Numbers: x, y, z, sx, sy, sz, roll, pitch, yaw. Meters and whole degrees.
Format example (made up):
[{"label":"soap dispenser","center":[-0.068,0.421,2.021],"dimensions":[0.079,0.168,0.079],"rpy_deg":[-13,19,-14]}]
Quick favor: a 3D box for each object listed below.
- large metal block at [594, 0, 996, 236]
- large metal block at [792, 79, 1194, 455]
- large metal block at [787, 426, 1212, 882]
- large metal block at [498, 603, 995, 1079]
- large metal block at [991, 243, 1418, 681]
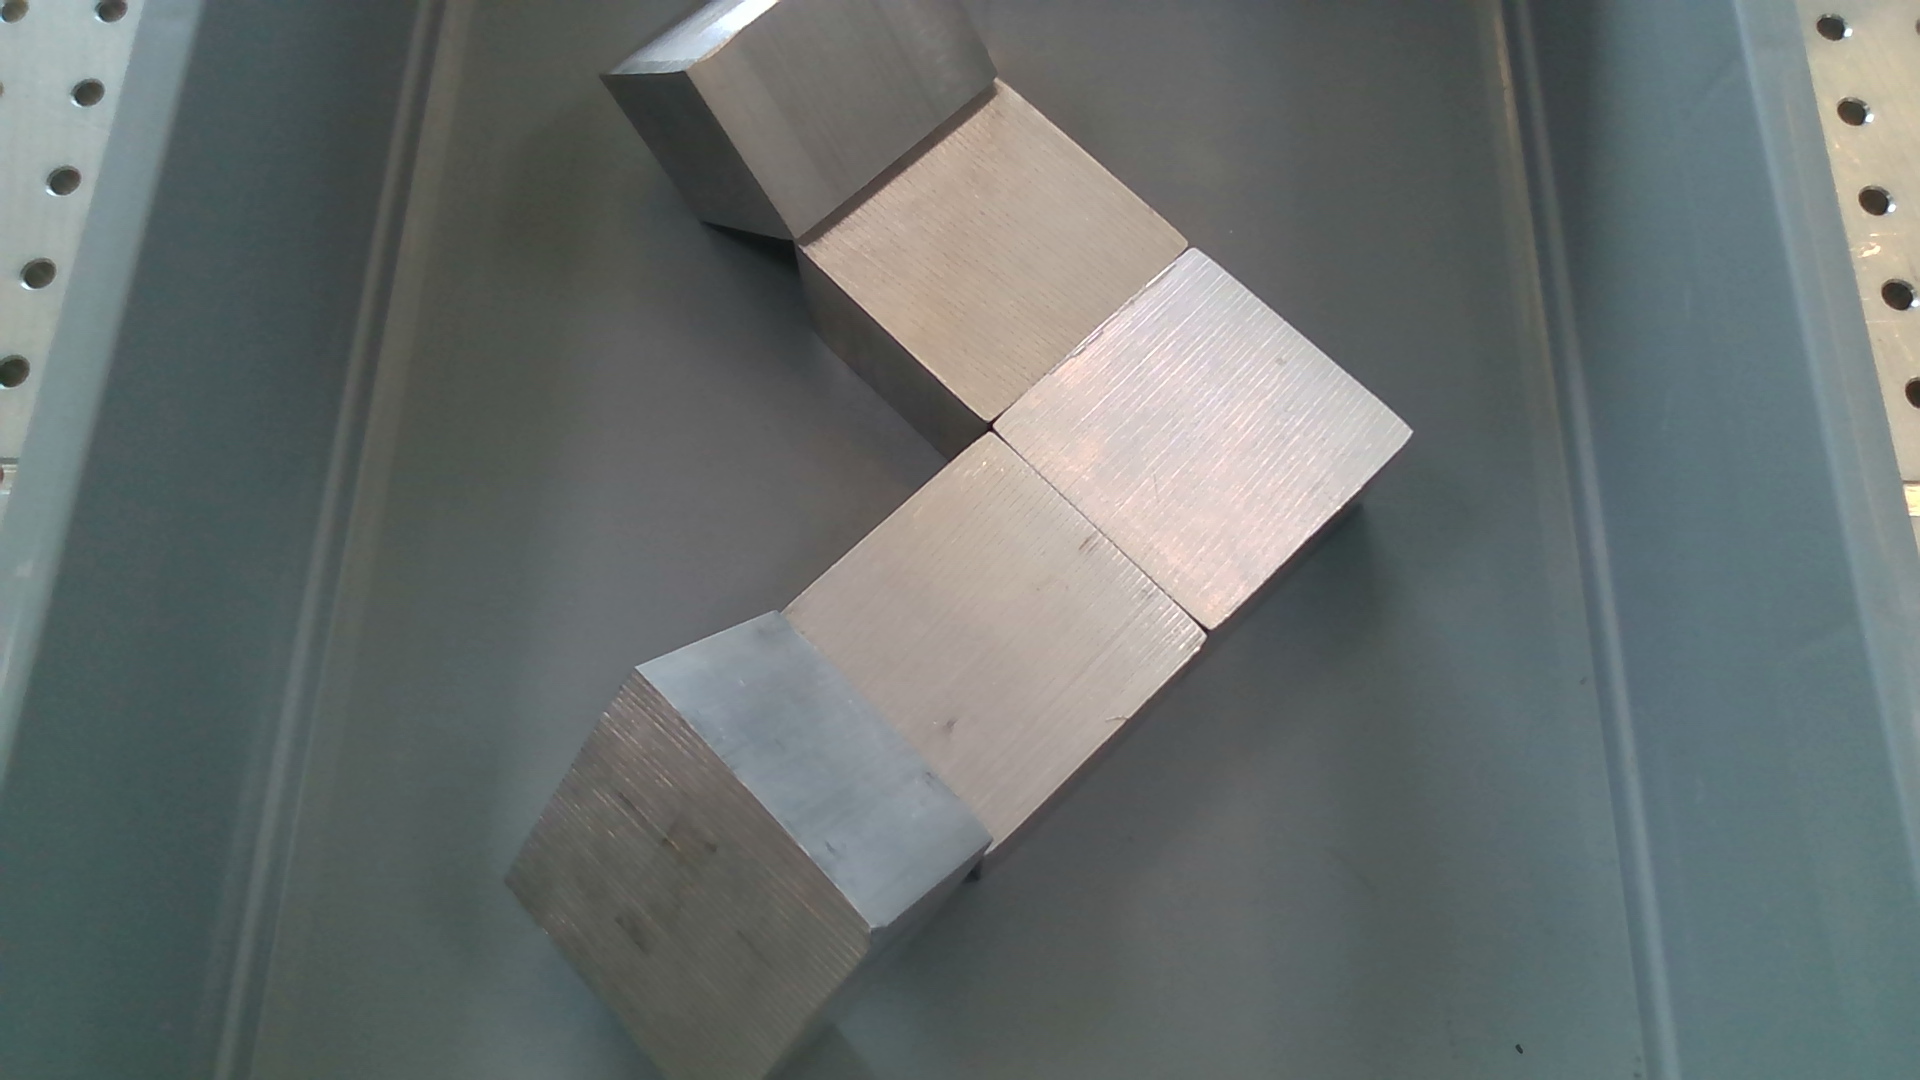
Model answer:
[{"label":"large metal block","center":[-0.051,-0.138,0.407],"dimensions":[0.080,0.050,0.080],"rpy_deg":[-42,33,-13]},{"label":"large metal block","center":[0.009,-0.076,0.408],"dimensions":[0.080,0.050,0.080],"rpy_deg":[-42,76,-13]},{"label":"large metal block","center":[0.007,0.031,0.370],"dimensions":[0.080,0.050,0.080],"rpy_deg":[-42,76,-13]},{"label":"large metal block","center":[-0.053,0.076,0.331],"dimensions":[0.080,0.050,0.080],"rpy_deg":[44,119,14]},{"label":"large metal block","center":[0.065,-0.021,0.388],"dimensions":[0.080,0.050,0.080],"rpy_deg":[-42,76,-13]}]
